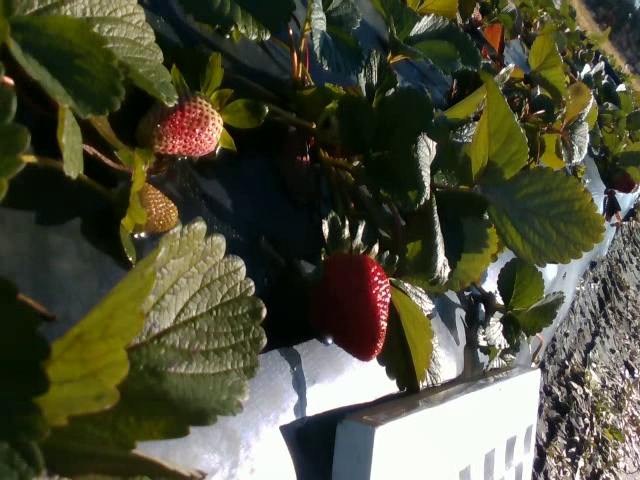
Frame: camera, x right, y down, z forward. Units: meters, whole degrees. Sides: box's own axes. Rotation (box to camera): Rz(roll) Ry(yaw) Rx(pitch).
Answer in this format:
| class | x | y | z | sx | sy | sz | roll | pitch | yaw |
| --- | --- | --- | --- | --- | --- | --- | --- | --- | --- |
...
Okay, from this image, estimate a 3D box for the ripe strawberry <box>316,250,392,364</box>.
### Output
| class | x | y | z | sx | sy | sz | roll | pitch | yaw |
| --- | --- | --- | --- | --- | --- | --- | --- | --- | --- |
| ripe strawberry | 0.013 | 0.032 | 0.278 | 0.058 | 0.066 | 0.061 | -34 | 40 | -15 |
